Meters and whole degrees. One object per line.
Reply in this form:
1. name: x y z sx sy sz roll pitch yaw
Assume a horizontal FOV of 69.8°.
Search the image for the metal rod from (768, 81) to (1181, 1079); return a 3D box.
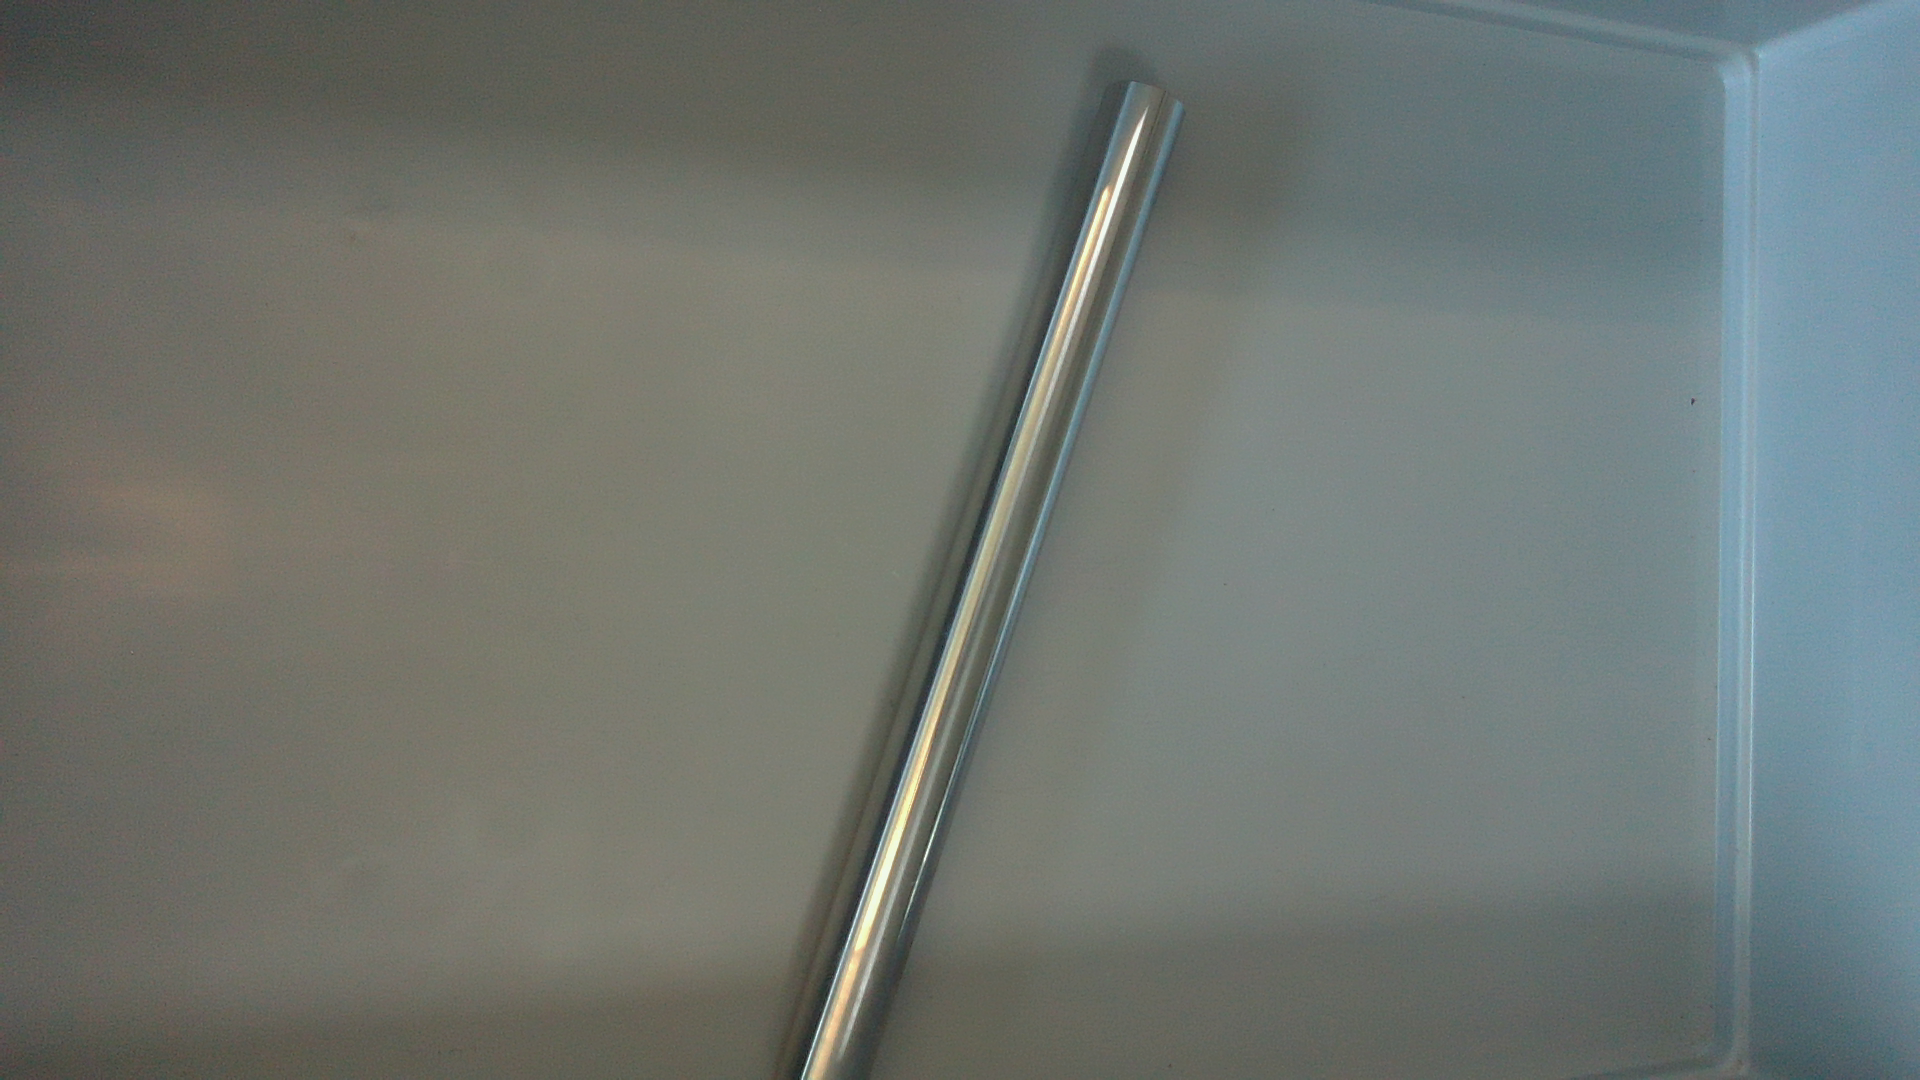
1. metal rod: 0.006 0.011 0.393 0.025 0.025 0.300 21 83 -19
